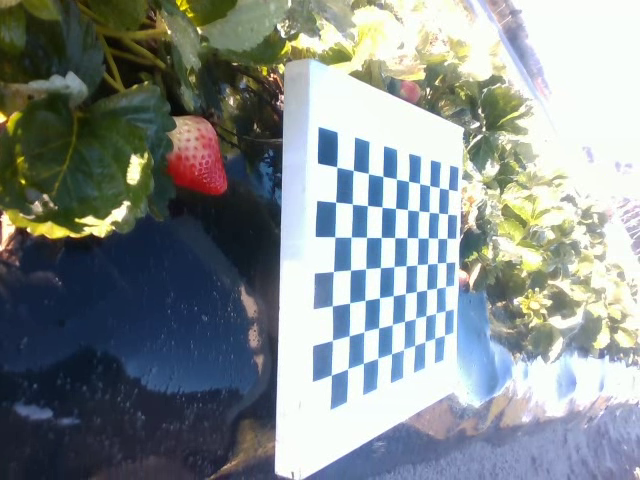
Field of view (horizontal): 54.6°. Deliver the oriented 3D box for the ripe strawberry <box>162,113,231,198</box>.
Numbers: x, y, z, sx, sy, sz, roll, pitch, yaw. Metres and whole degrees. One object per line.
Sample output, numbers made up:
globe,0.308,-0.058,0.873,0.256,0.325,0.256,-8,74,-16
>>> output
ripe strawberry,-0.074,-0.046,0.371,0.040,0.040,0.065,-1,-41,32
